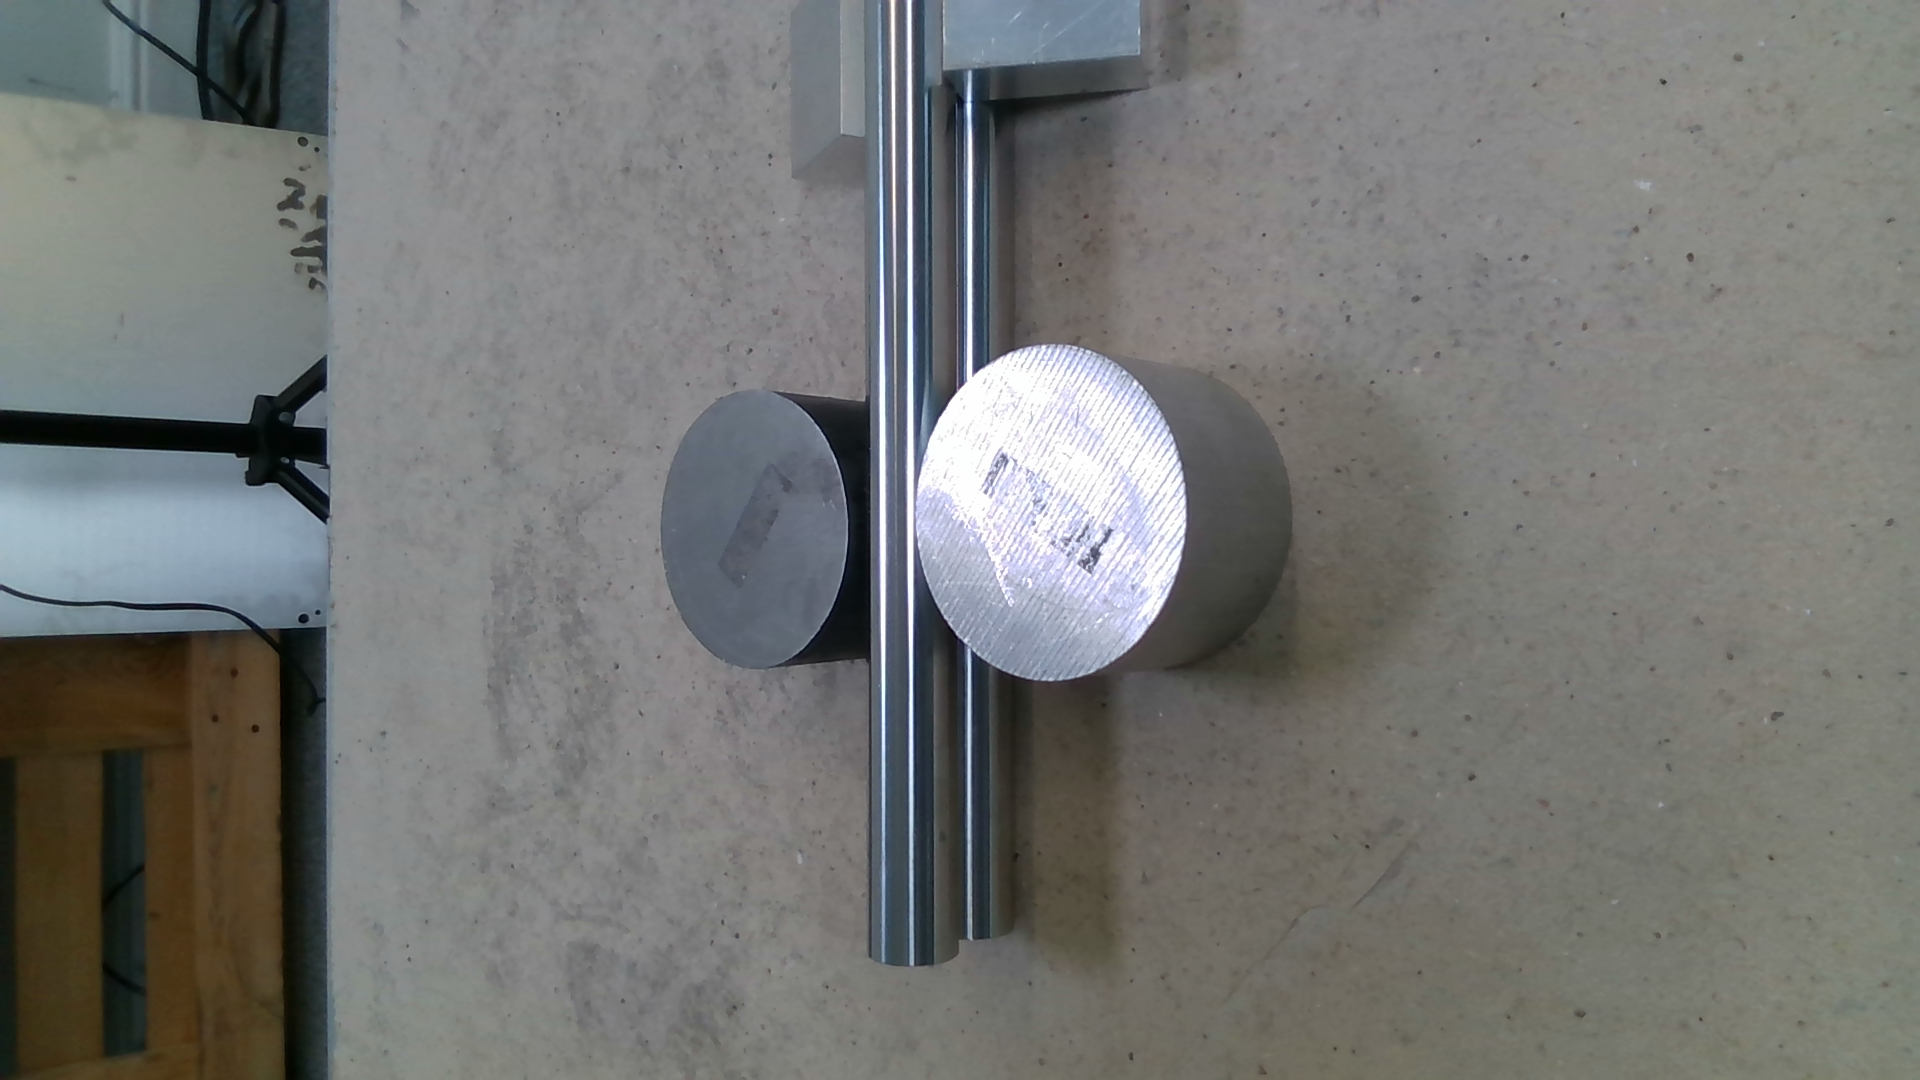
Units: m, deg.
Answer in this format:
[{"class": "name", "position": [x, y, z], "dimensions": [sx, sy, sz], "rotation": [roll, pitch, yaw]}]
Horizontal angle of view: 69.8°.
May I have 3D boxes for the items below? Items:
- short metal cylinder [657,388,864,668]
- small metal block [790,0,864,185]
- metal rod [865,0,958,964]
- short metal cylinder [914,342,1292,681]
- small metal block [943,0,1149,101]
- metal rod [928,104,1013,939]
[{"class": "short metal cylinder", "position": [-0.046, -0.003, 0.413], "dimensions": [0.080, 0.050, 0.080], "rotation": [0, 91, 40]}, {"class": "small metal block", "position": [-0.031, -0.136, 0.403], "dimensions": [0.050, 0.025, 0.050], "rotation": [-178, 88, -67]}, {"class": "metal rod", "position": [-0.013, -0.040, 0.369], "dimensions": [0.025, 0.025, 0.300], "rotation": [0, 90, 40]}, {"class": "short metal cylinder", "position": [0.035, -0.007, 0.345], "dimensions": [0.080, 0.050, 0.080], "rotation": [0, 91, 40]}, {"class": "small metal block", "position": [0.023, -0.144, 0.358], "dimensions": [0.050, 0.025, 0.050], "rotation": [0, 90, 13]}, {"class": "metal rod", "position": [0.002, -0.041, 0.389], "dimensions": [0.025, 0.025, 0.300], "rotation": [0, 91, 40]}]
